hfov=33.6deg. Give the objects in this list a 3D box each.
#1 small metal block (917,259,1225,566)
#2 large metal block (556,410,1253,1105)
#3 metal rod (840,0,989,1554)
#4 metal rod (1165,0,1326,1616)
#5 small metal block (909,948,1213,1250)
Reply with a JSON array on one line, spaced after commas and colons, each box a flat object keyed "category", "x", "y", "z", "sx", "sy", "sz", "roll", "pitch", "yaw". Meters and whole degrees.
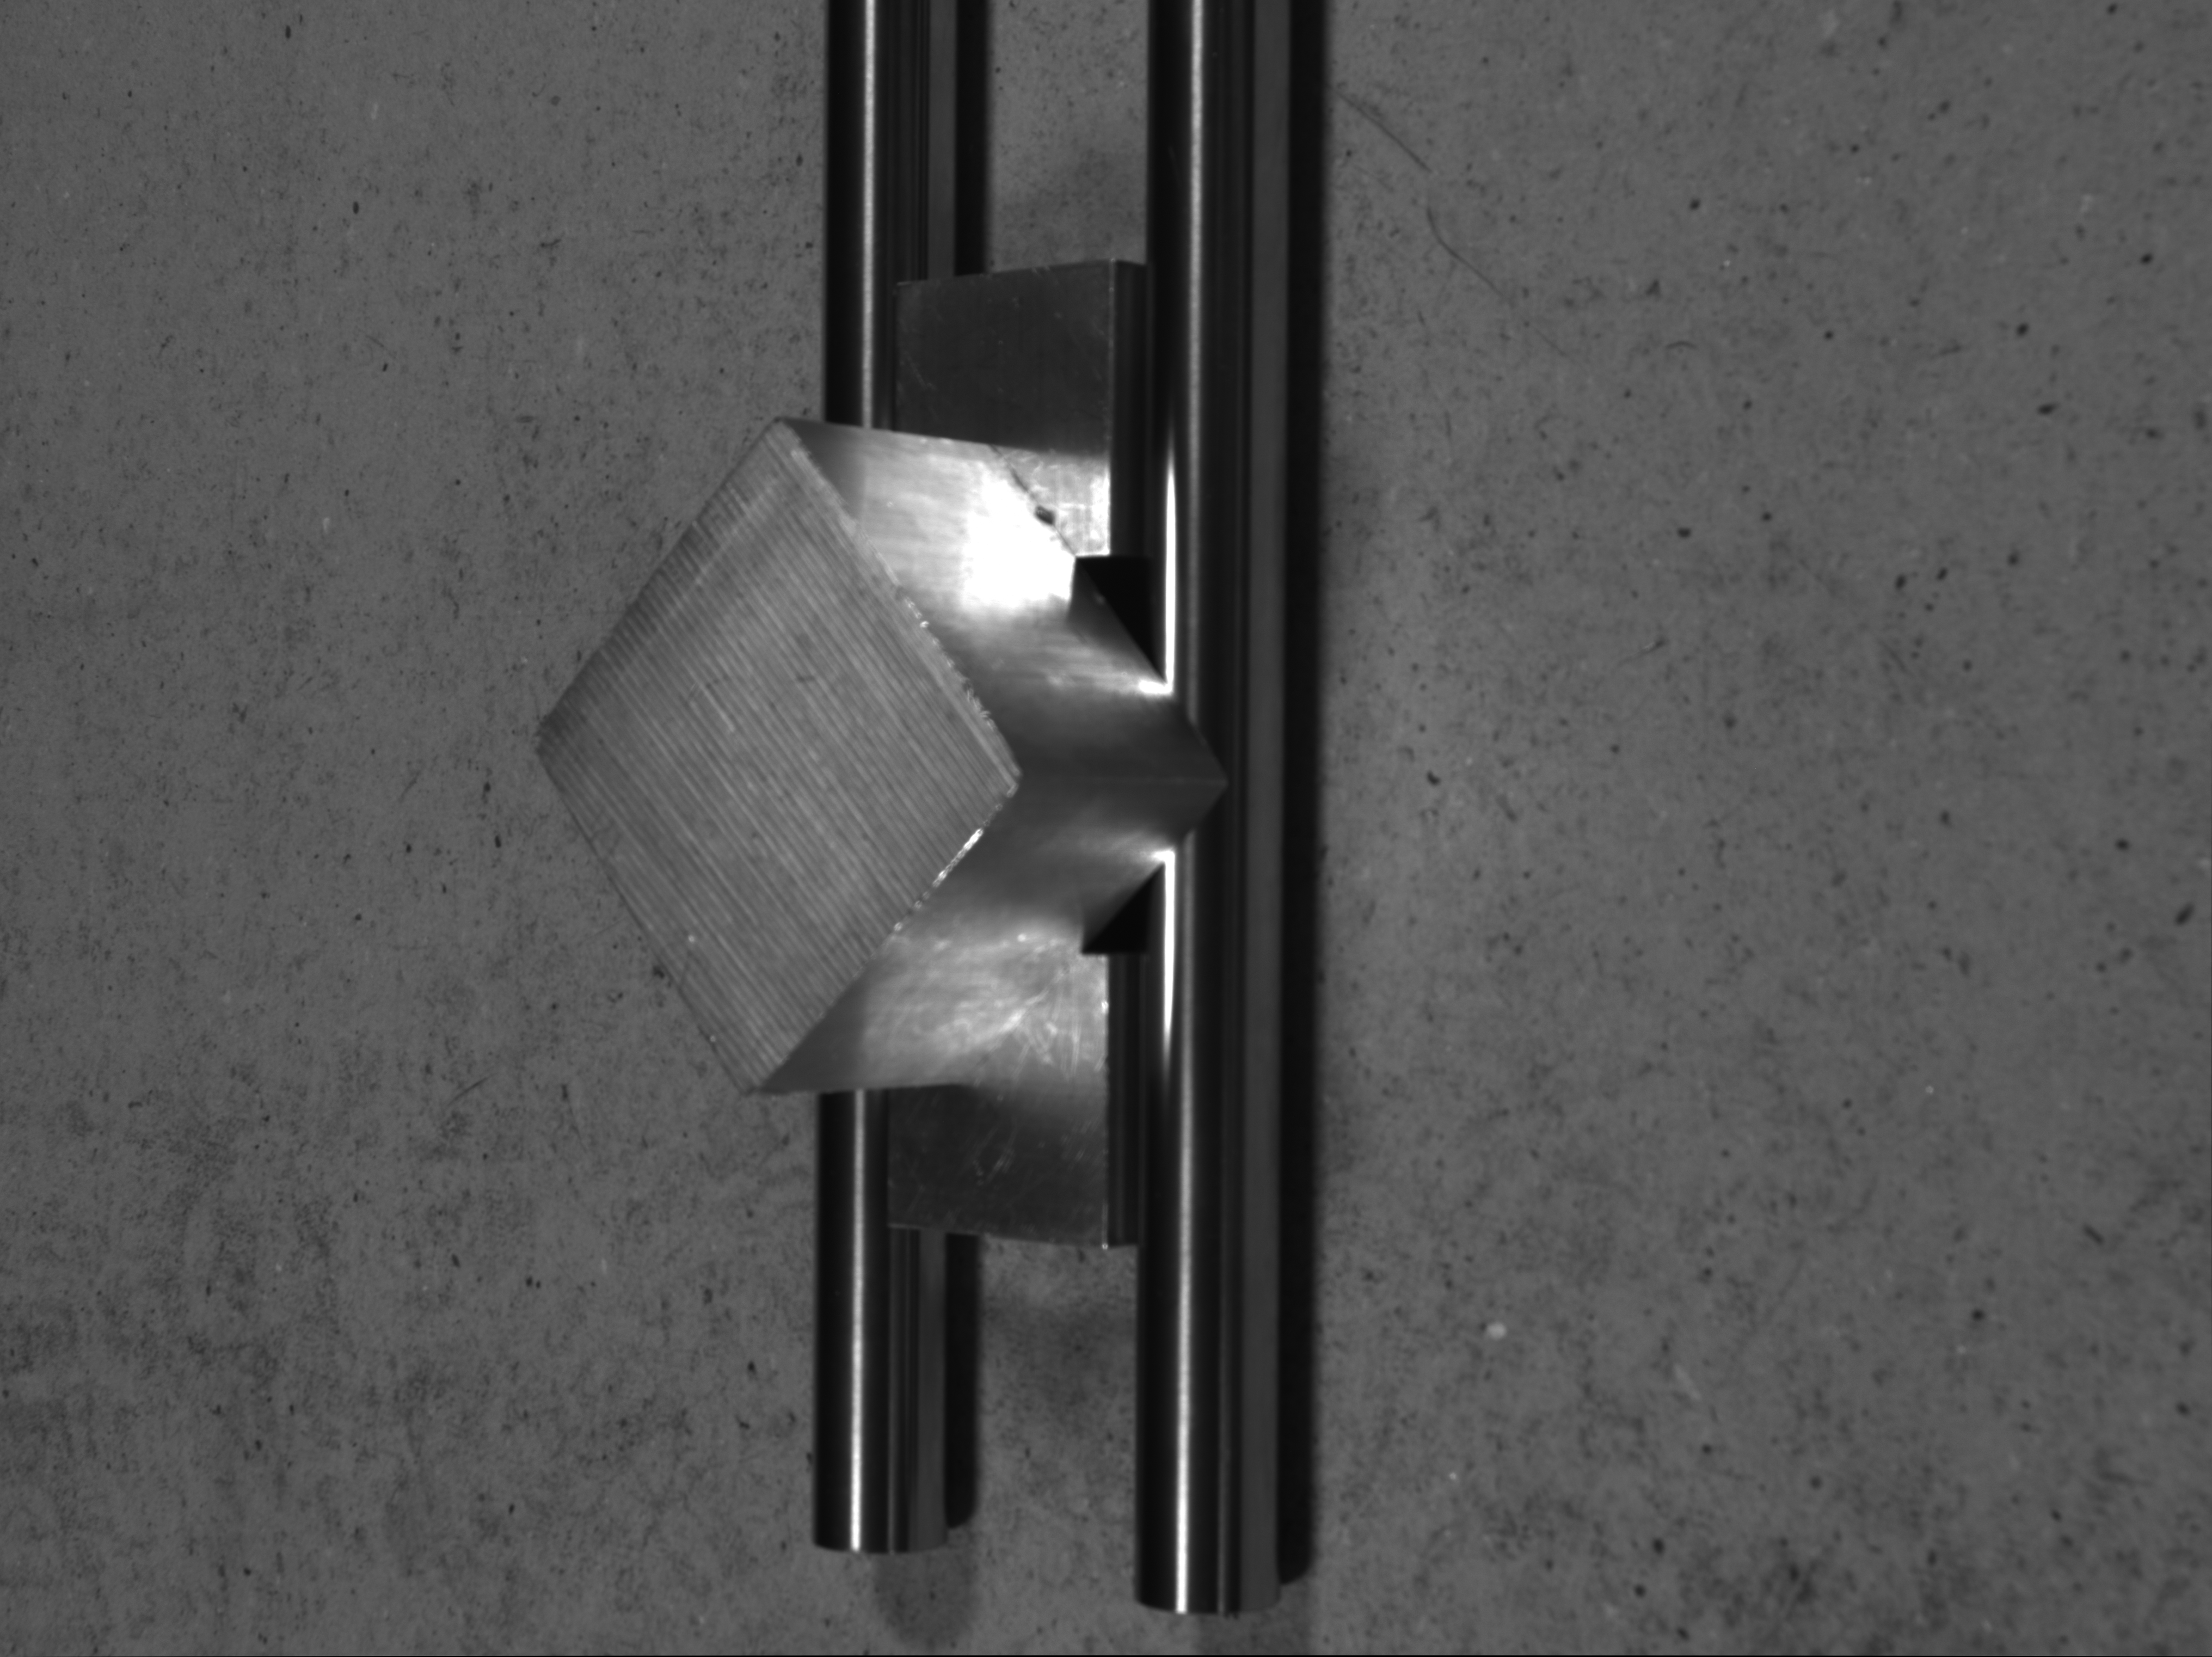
[{"category": "small metal block", "x": -0.006, "y": -0.071, "z": 0.641, "sx": 0.050, "sy": 0.025, "sz": 0.050, "roll": 1, "pitch": 90, "yaw": 39}, {"category": "large metal block", "x": -0.035, "y": -0.011, "z": 0.614, "sx": 0.080, "sy": 0.050, "sz": 0.080, "roll": -48, "pitch": 62, "yaw": 28}, {"category": "metal rod", "x": -0.035, "y": -0.020, "z": 0.666, "sx": 0.025, "sy": 0.025, "sz": 0.300, "roll": 1, "pitch": 90, "yaw": 39}, {"category": "metal rod", "x": 0.024, "y": -0.020, "z": 0.618, "sx": 0.025, "sy": 0.025, "sz": 0.300, "roll": 1, "pitch": 90, "yaw": 39}, {"category": "small metal block", "x": -0.007, "y": 0.046, "z": 0.641, "sx": 0.050, "sy": 0.025, "sz": 0.050, "roll": 1, "pitch": 90, "yaw": 39}]
